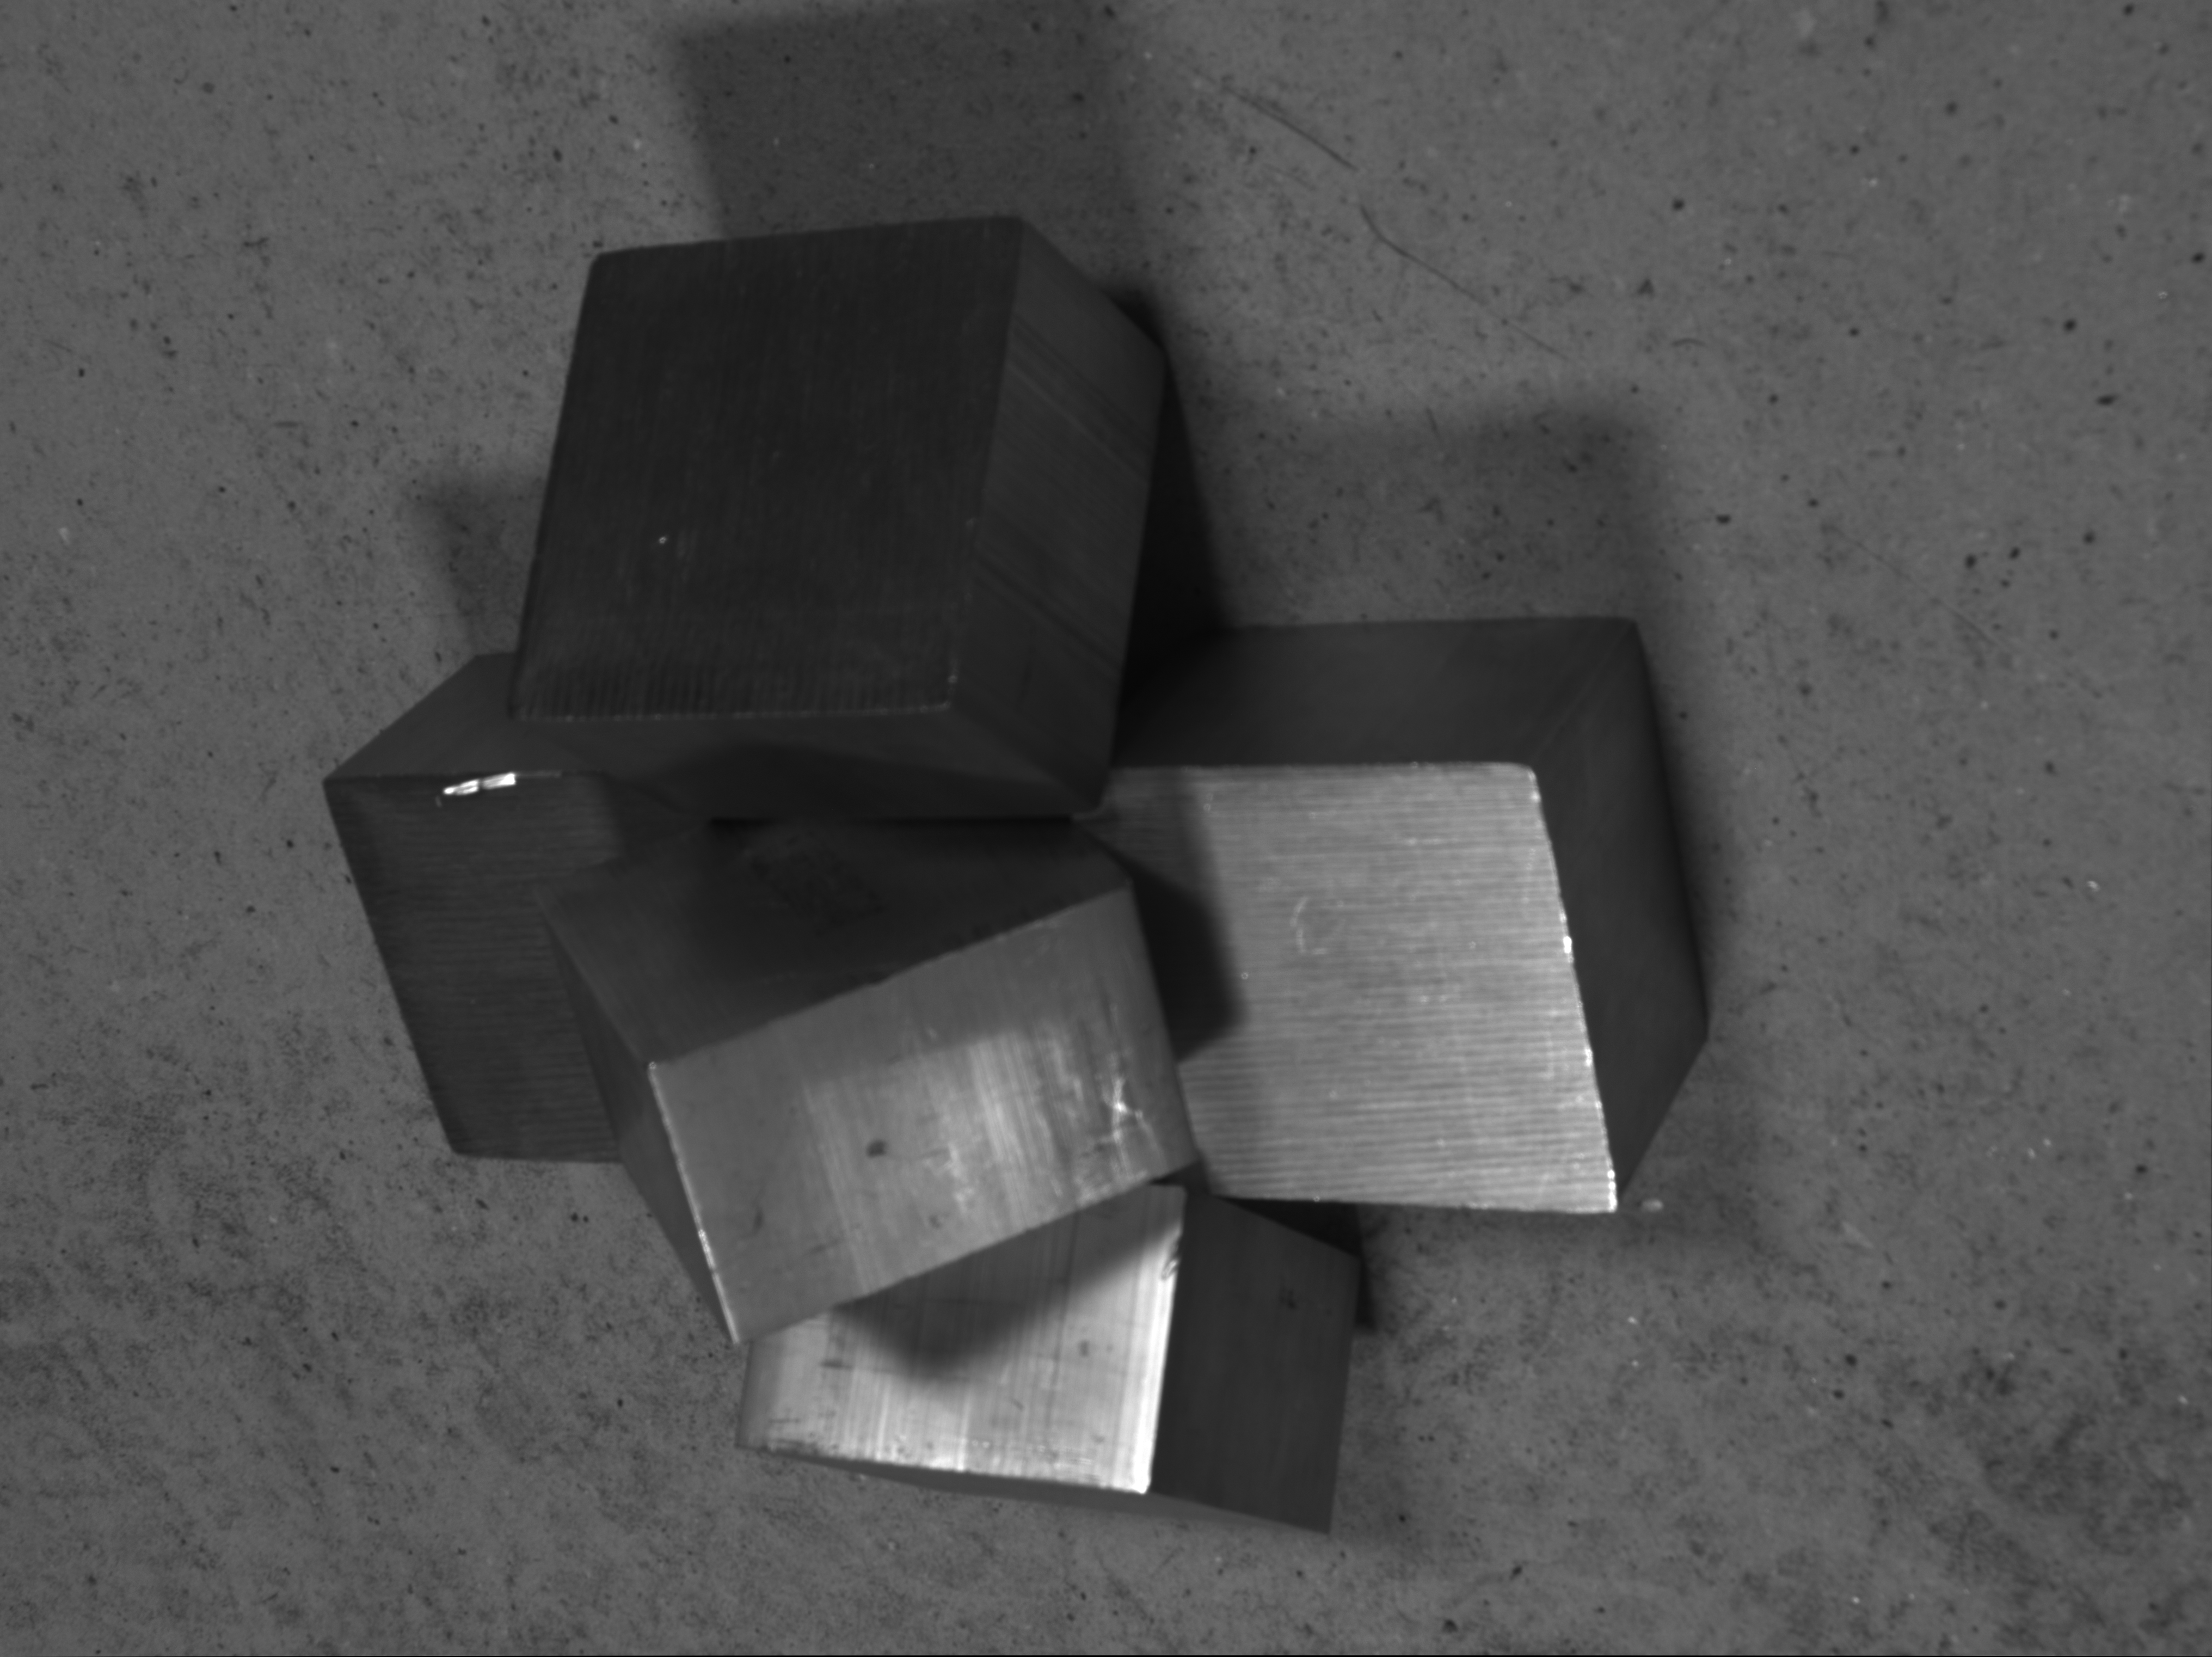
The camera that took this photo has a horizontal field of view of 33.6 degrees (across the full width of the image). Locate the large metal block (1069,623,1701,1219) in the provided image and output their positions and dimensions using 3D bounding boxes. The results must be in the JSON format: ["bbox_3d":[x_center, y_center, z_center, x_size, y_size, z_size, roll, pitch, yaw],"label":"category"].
[{"bbox_3d":[0.046,0.014,0.597,0.080,0.050,0.080,0,118,27],"label":"large metal block"}]

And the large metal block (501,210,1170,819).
[{"bbox_3d":[-0.042,-0.047,0.581,0.080,0.080,0.050,0,162,27],"label":"large metal block"}]

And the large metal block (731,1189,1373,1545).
[{"bbox_3d":[-0.008,0.093,0.649,0.080,0.080,0.050,2,76,27],"label":"large metal block"}]

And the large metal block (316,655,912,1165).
[{"bbox_3d":[-0.085,0.014,0.666,0.080,0.050,0.080,-1,118,27],"label":"large metal block"}]

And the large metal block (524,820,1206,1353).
[{"bbox_3d":[-0.040,0.031,0.594,0.080,0.080,0.050,-138,31,-61],"label":"large metal block"}]
